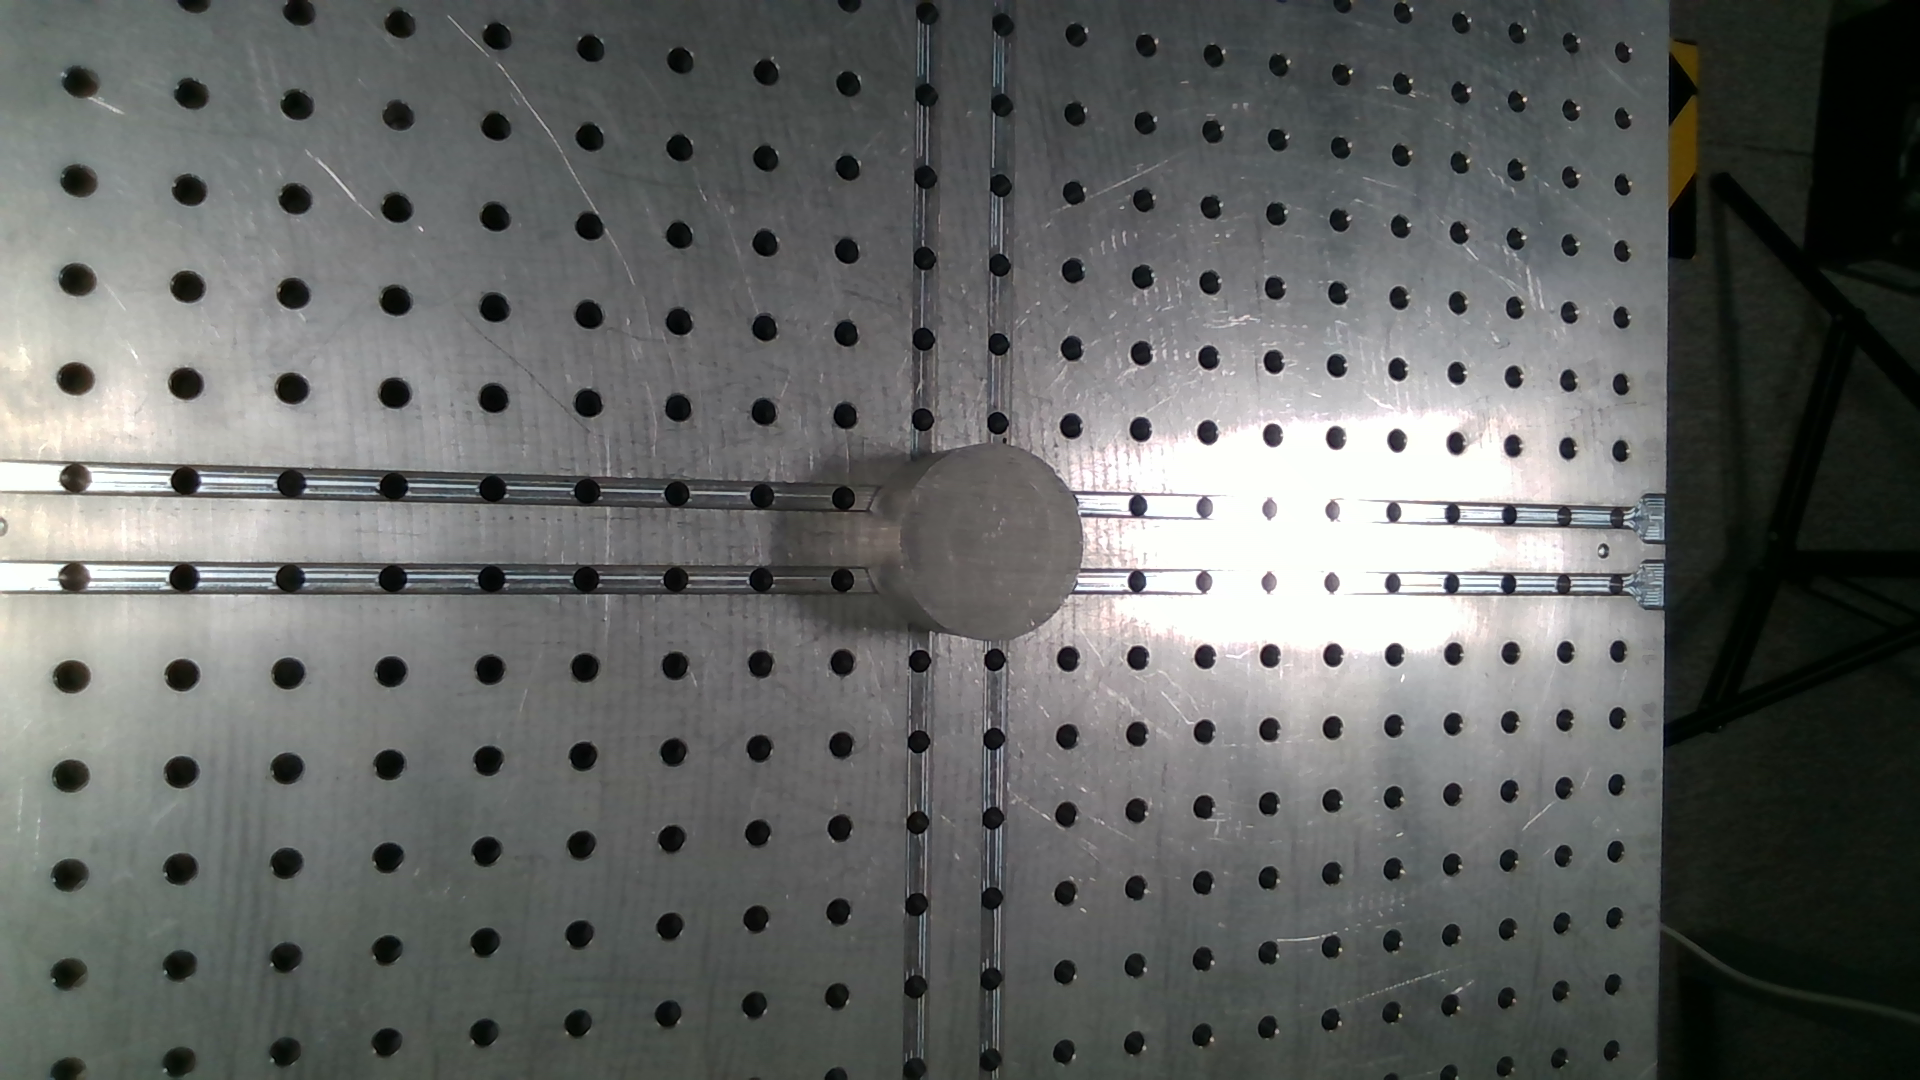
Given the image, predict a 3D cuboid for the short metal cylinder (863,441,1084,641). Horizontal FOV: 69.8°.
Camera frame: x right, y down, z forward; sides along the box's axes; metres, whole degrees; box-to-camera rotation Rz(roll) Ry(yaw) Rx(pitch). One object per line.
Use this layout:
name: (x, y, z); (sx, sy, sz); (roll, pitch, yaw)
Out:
short metal cylinder: (0.005, 0.000, 0.576); (0.080, 0.050, 0.080); (0, 90, -20)
